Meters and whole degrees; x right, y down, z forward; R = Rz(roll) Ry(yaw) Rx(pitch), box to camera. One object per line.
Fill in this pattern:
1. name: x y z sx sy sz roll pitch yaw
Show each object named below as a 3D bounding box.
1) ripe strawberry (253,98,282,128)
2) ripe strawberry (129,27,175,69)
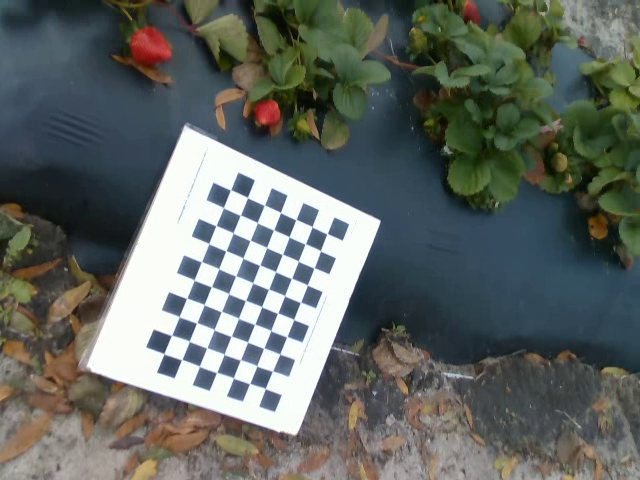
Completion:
1. ripe strawberry: -0.062 -0.149 0.926 0.041 0.042 0.037 37 -58 -25
2. ripe strawberry: -0.185 -0.212 0.859 0.065 0.047 0.043 26 -5 26
